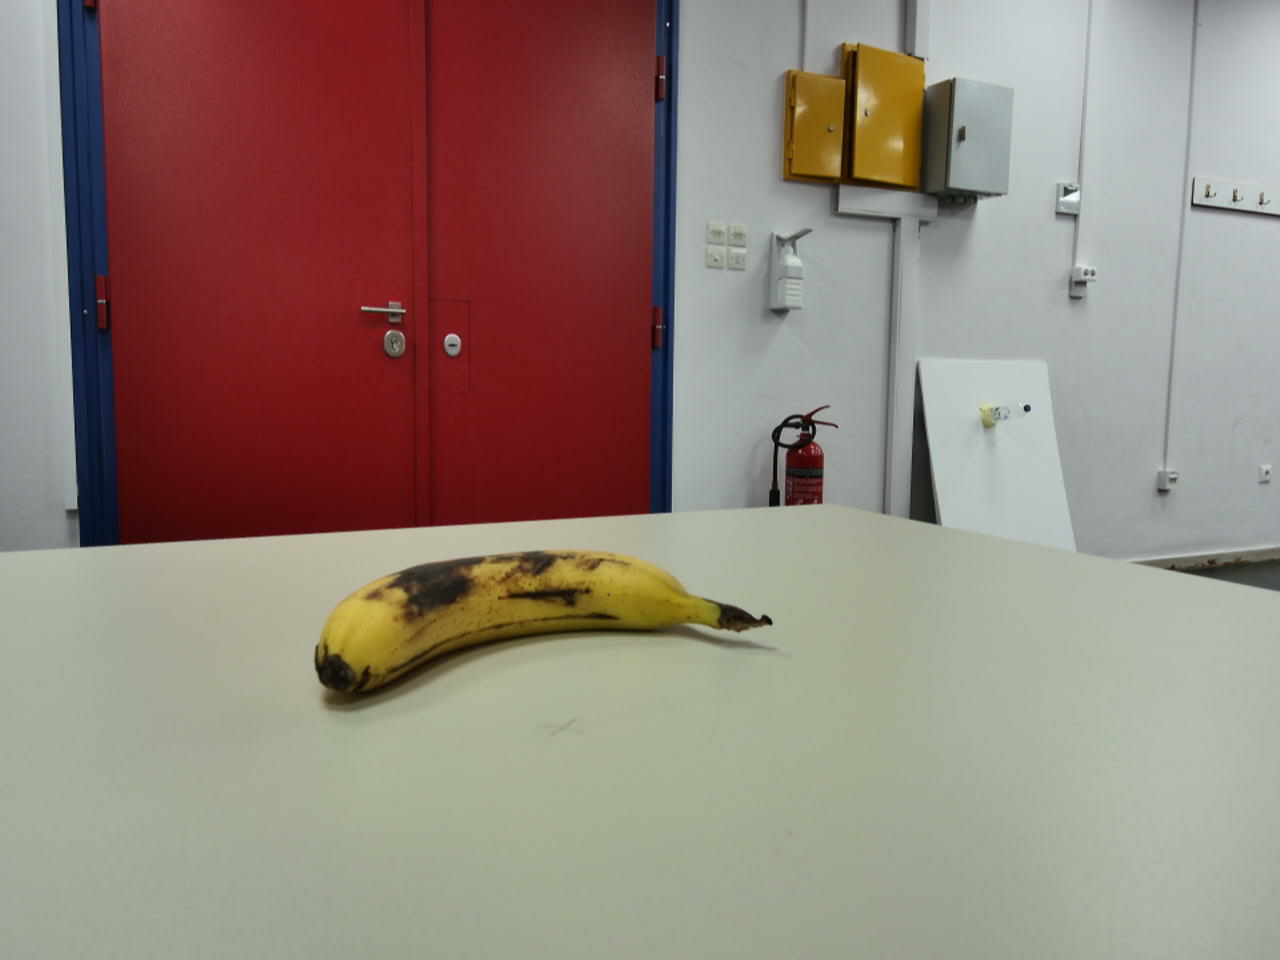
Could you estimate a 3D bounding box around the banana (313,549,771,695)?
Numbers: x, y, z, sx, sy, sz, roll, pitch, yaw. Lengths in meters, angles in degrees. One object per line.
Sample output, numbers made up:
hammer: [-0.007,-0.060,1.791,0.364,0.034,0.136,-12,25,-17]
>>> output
banana: [-0.049,0.054,0.426,0.187,0.039,0.094,-3,5,-28]
